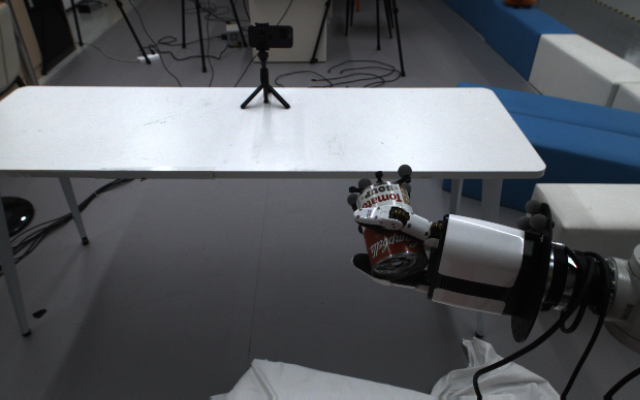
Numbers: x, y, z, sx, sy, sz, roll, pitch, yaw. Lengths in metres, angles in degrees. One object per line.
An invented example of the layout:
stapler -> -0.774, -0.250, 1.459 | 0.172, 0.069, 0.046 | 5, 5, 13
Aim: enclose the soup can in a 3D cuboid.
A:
soup can -> 0.088, 0.036, 0.590 | 0.067, 0.067, 0.101 | -5, 57, -10
